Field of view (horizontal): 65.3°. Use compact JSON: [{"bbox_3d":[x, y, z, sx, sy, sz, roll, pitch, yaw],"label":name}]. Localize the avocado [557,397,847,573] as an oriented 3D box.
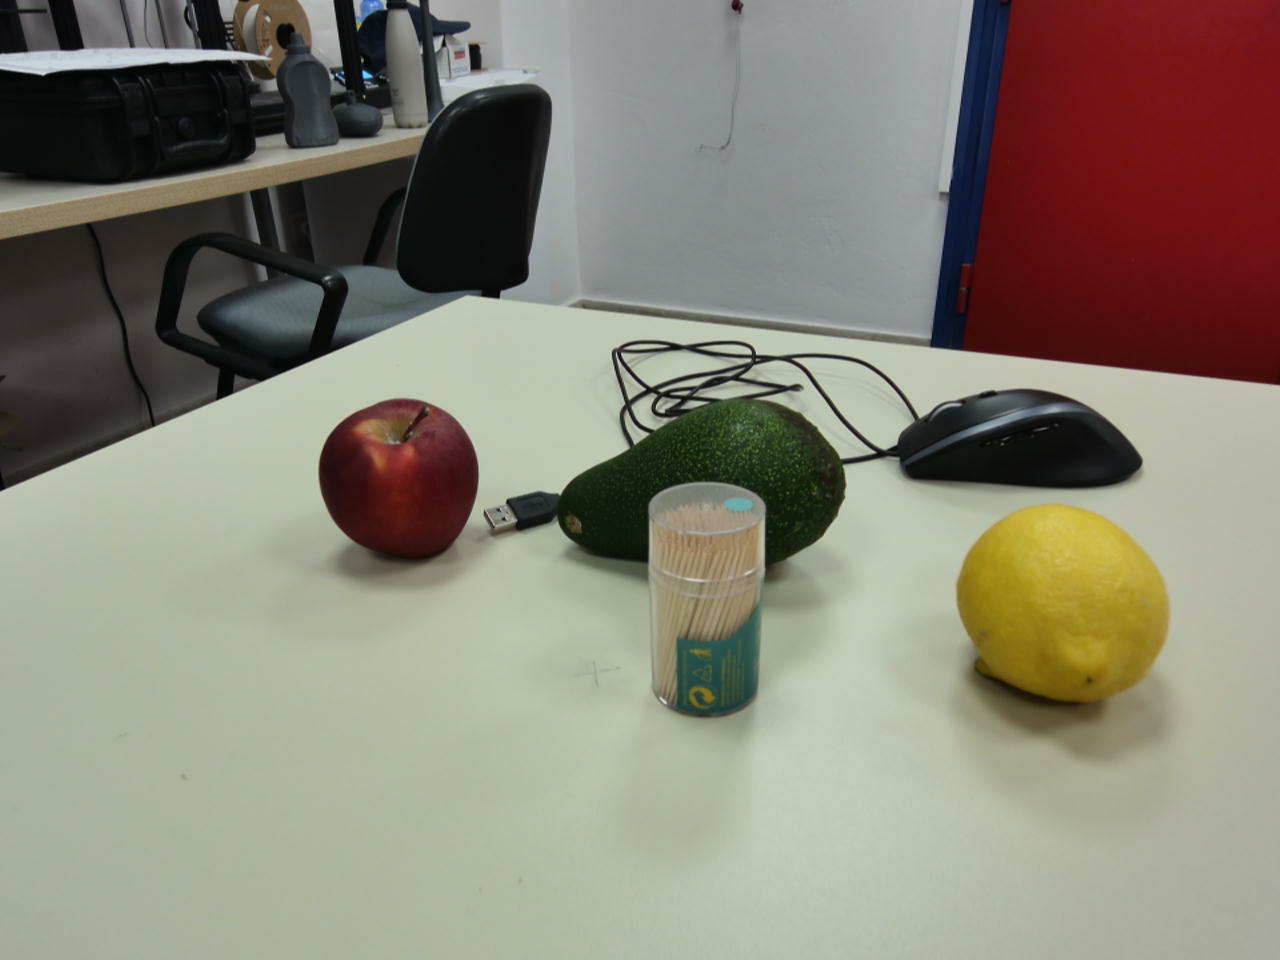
[{"bbox_3d":[0.030,-0.001,0.438,0.123,0.076,0.074,14,27,29],"label":"avocado"}]
